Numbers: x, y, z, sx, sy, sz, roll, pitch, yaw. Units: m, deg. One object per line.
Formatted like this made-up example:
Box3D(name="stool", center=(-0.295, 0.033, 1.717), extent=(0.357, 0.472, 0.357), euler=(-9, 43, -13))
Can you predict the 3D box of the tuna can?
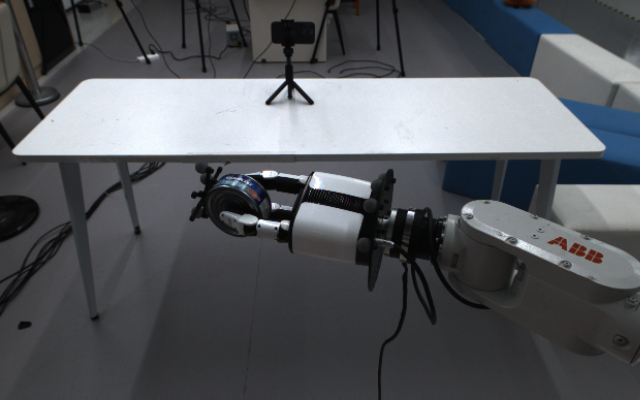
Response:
Box3D(name="tuna can", center=(-0.110, 0.007, 0.658), extent=(0.085, 0.085, 0.034), euler=(11, 35, 13))
